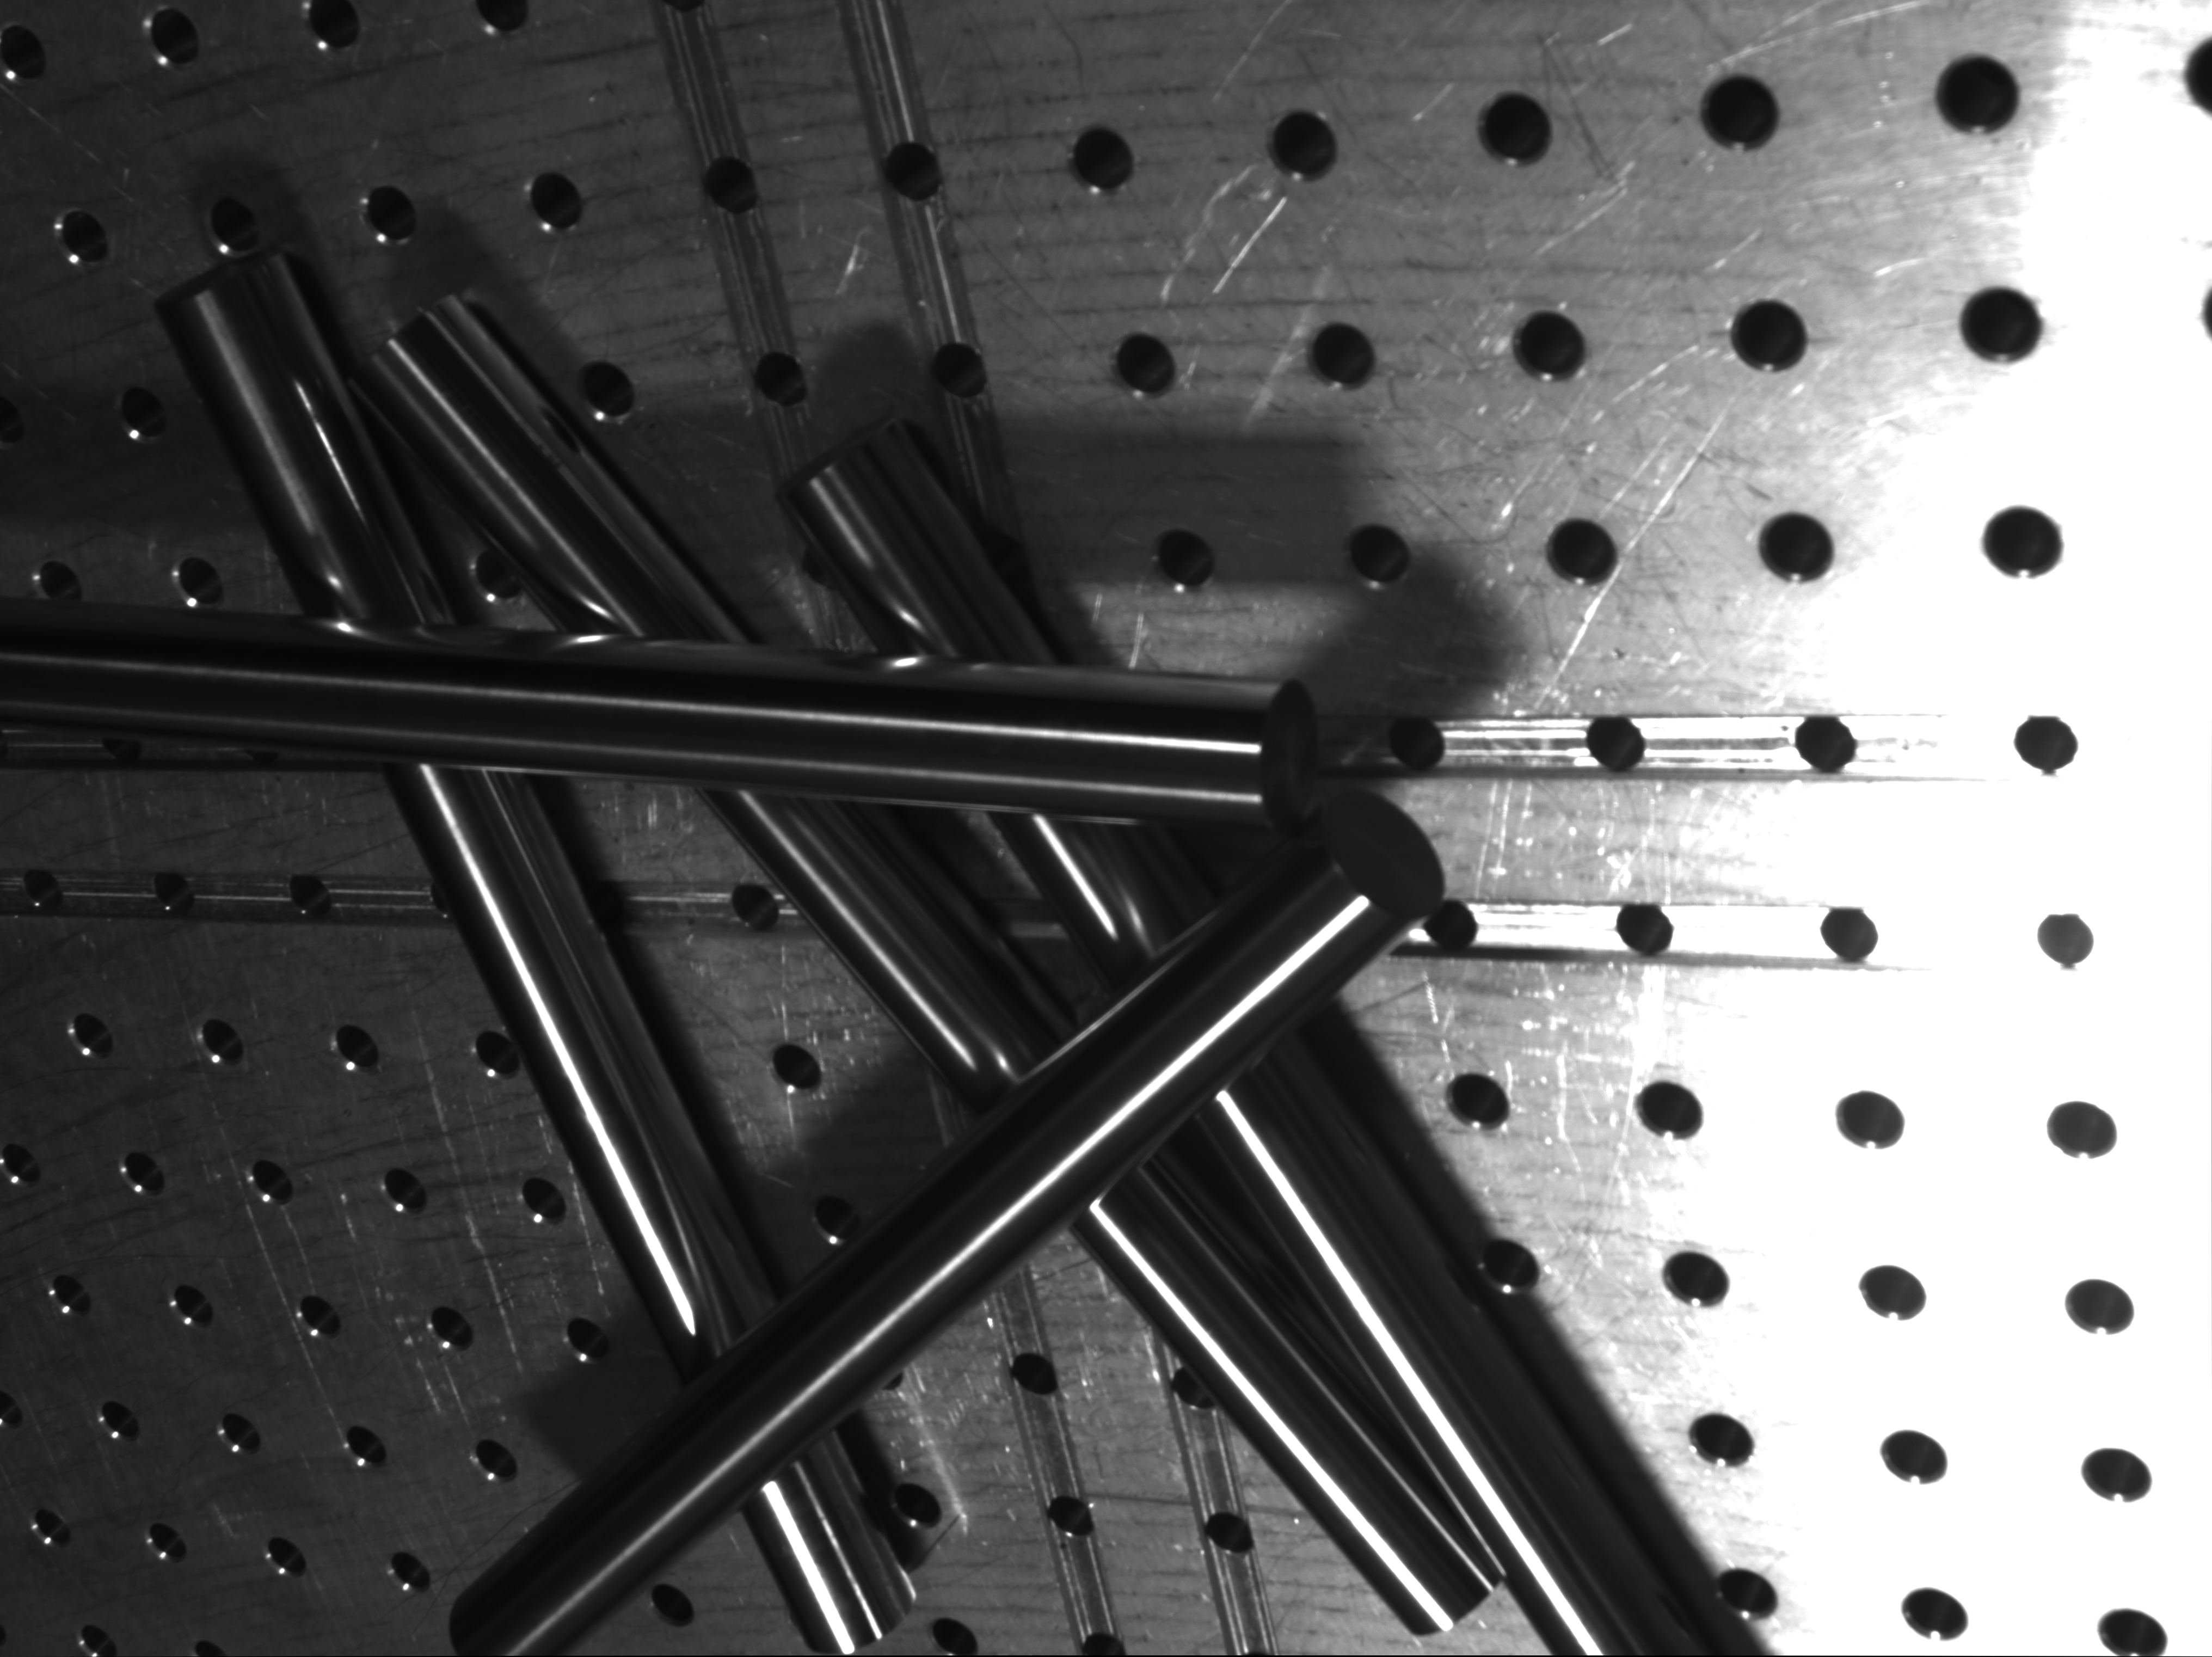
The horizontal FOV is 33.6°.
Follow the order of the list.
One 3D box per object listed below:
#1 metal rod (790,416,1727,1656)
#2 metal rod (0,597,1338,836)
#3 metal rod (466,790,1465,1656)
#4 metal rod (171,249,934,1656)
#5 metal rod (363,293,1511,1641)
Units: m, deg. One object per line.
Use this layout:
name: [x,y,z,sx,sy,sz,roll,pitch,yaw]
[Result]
metal rod: [0.038,0.059,0.650,0.025,0.025,0.300,-24,105,35]
metal rod: [-0.104,-0.022,0.641,0.299,0.025,0.025,5,120,24]
metal rod: [-0.038,0.087,0.673,0.025,0.025,0.300,44,128,-3]
metal rod: [-0.101,0.032,0.703,0.025,0.025,0.300,-10,113,31]
metal rod: [-0.026,0.028,0.663,0.025,0.025,0.300,-34,100,37]
